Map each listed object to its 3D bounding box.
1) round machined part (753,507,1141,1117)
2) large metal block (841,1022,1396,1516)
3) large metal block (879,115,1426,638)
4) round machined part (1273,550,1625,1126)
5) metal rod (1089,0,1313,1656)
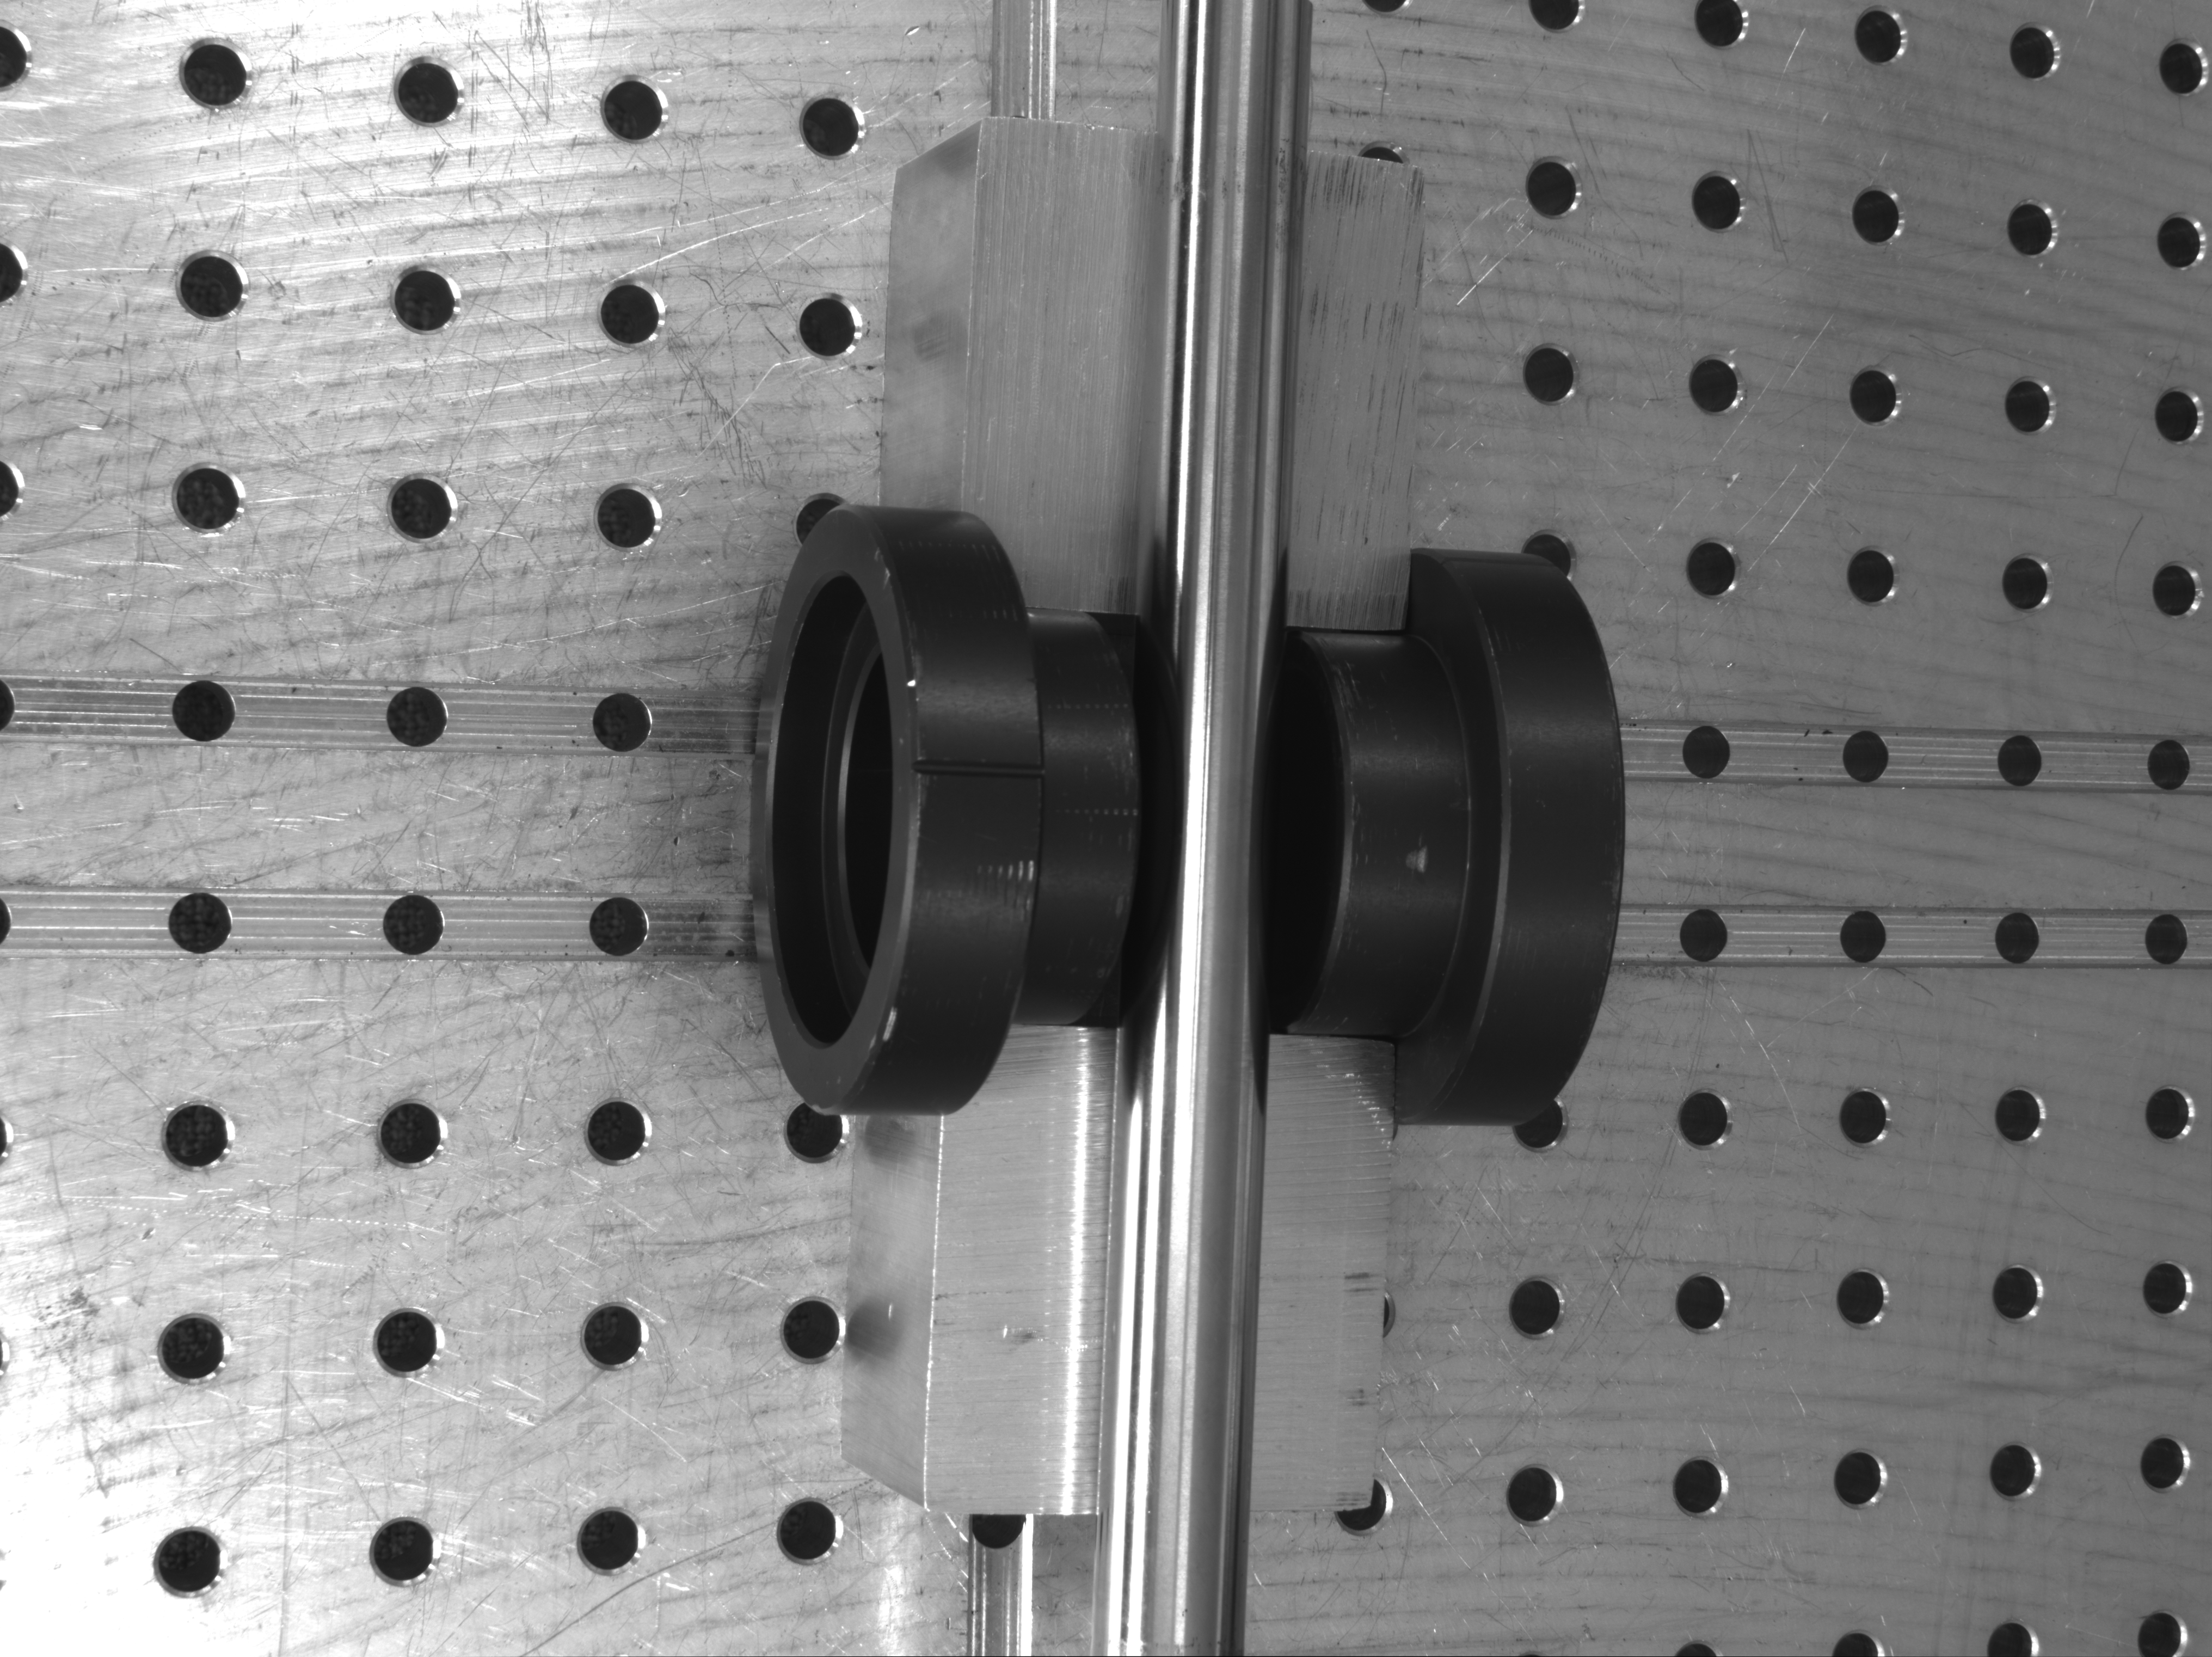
[{"bbox_3d":[-0.025,-0.002,0.597,0.042,0.098,0.098,2,89,-20],"label":"round machined part"},{"bbox_3d":[0.001,0.074,0.633,0.080,0.050,0.080,3,89,-20],"label":"large metal block"},{"bbox_3d":[0.007,-0.075,0.635,0.080,0.050,0.080,2,89,-20],"label":"large metal block"},{"bbox_3d":[0.050,0.001,0.625,0.042,0.098,0.098,2,89,-15],"label":"round machined part"},{"bbox_3d":[0.015,0.015,0.598,0.025,0.025,0.300,3,89,-20],"label":"metal rod"}]
